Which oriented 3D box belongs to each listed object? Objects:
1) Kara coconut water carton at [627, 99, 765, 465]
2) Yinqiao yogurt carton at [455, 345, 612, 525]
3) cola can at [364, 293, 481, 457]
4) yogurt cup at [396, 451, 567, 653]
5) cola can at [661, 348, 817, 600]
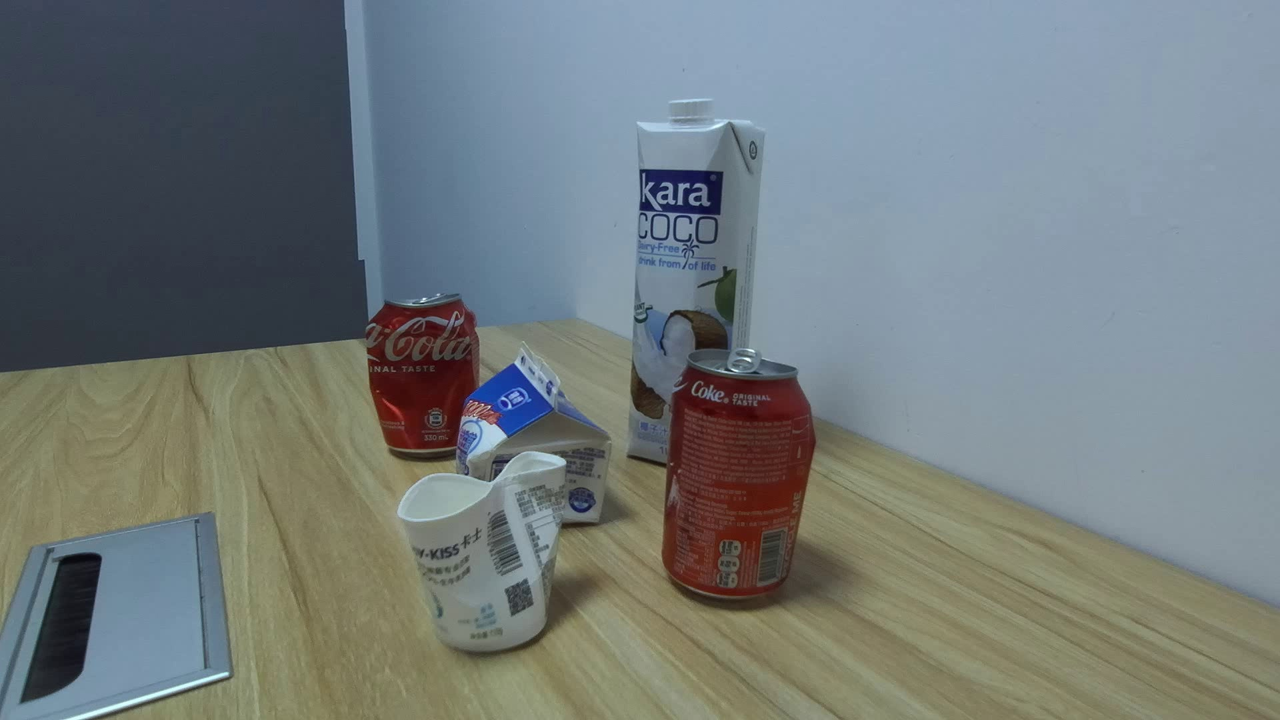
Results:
[{"bbox_3d":[0.036,-0.048,0.487,0.076,0.245,0.075,9,14,29],"label":"Kara coconut water carton"},{"bbox_3d":[-0.067,0.044,0.420,0.080,0.097,0.074,2,15,-27],"label":"Yinqiao yogurt carton"},{"bbox_3d":[-0.150,0.009,0.511,0.069,0.112,0.065,3,15,10],"label":"cola can"},{"bbox_3d":[-0.067,0.084,0.314,0.053,0.071,0.075,6,17,12],"label":"yogurt cup"},{"bbox_3d":[0.044,0.055,0.351,0.066,0.117,0.072,-10,19,-32],"label":"cola can"}]
